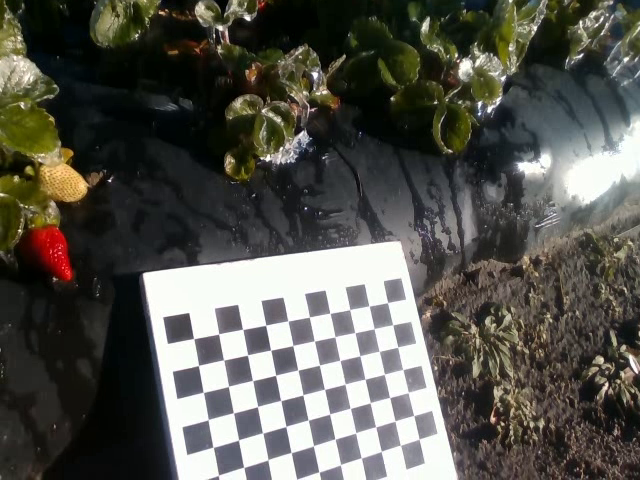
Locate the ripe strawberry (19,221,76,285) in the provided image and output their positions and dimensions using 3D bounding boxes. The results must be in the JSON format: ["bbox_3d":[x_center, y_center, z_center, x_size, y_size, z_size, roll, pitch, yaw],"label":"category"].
[{"bbox_3d":[-0.220,0.010,0.509,0.041,0.052,0.040,-27,-8,-32],"label":"ripe strawberry"}]
